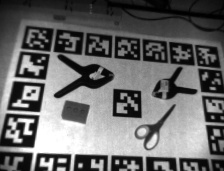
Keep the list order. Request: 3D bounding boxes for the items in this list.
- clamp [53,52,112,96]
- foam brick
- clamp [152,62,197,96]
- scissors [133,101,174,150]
[{"bbox_3d":[-0.100,-0.042,0.760,0.204,0.036,0.164,1,66,-9],"label":"clamp"},{"bbox_3d":[-0.122,0.082,0.705,0.078,0.051,0.052,10,70,1],"label":"foam brick"},{"bbox_3d":[0.223,-0.009,0.802,0.166,0.036,0.121,-23,81,-15],"label":"clamp"},{"bbox_3d":[0.155,0.123,0.745,0.088,0.016,0.203,44,68,1],"label":"scissors"}]
